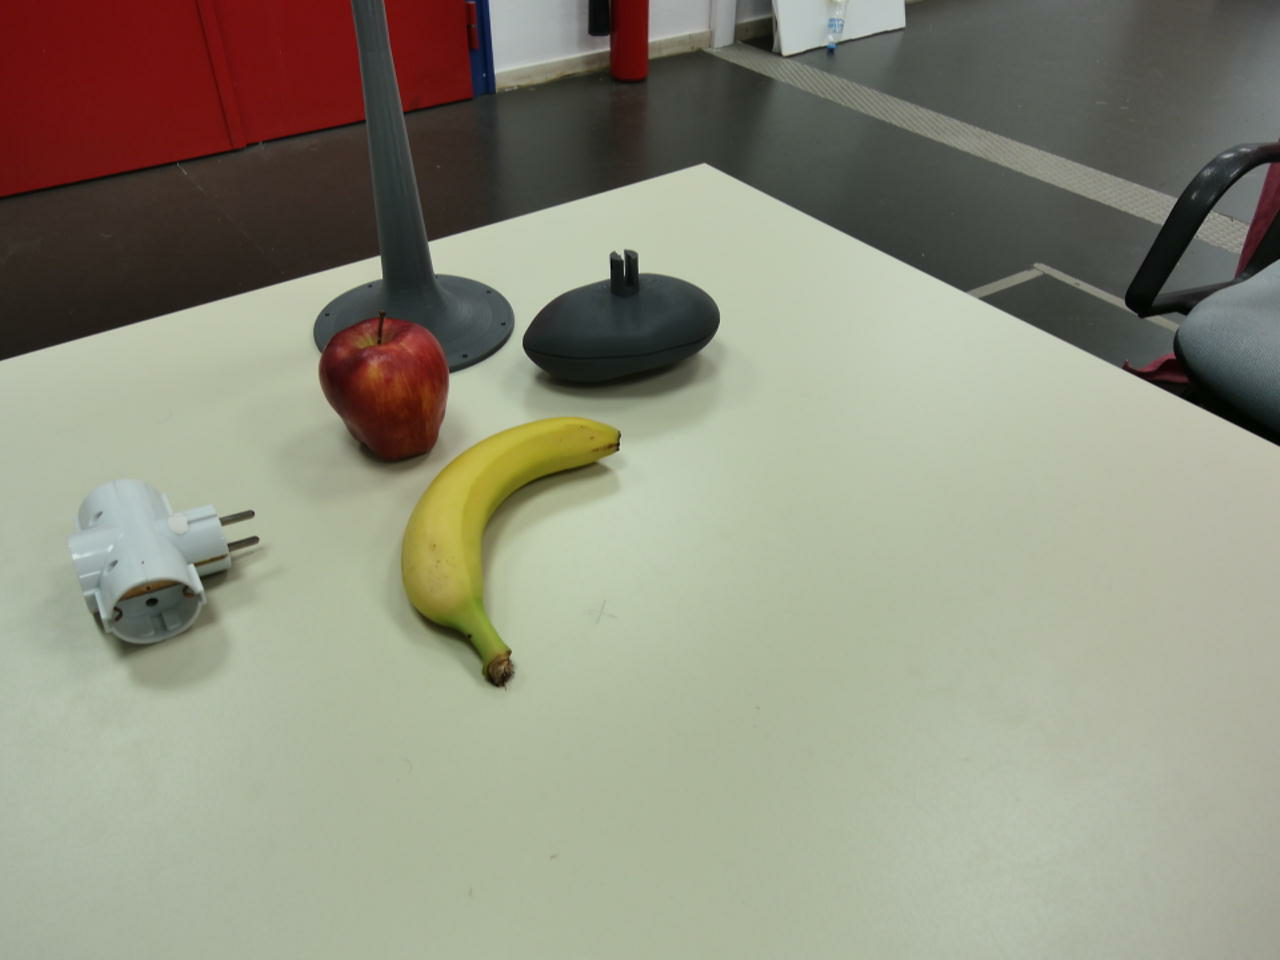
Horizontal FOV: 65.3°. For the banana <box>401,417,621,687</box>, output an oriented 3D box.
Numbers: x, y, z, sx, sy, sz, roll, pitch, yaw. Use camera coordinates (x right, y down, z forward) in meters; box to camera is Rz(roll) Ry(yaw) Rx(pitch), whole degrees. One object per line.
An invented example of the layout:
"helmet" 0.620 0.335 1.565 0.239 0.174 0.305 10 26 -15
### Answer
"banana" -0.081 0.022 0.566 0.094 0.041 0.196 12 39 13
